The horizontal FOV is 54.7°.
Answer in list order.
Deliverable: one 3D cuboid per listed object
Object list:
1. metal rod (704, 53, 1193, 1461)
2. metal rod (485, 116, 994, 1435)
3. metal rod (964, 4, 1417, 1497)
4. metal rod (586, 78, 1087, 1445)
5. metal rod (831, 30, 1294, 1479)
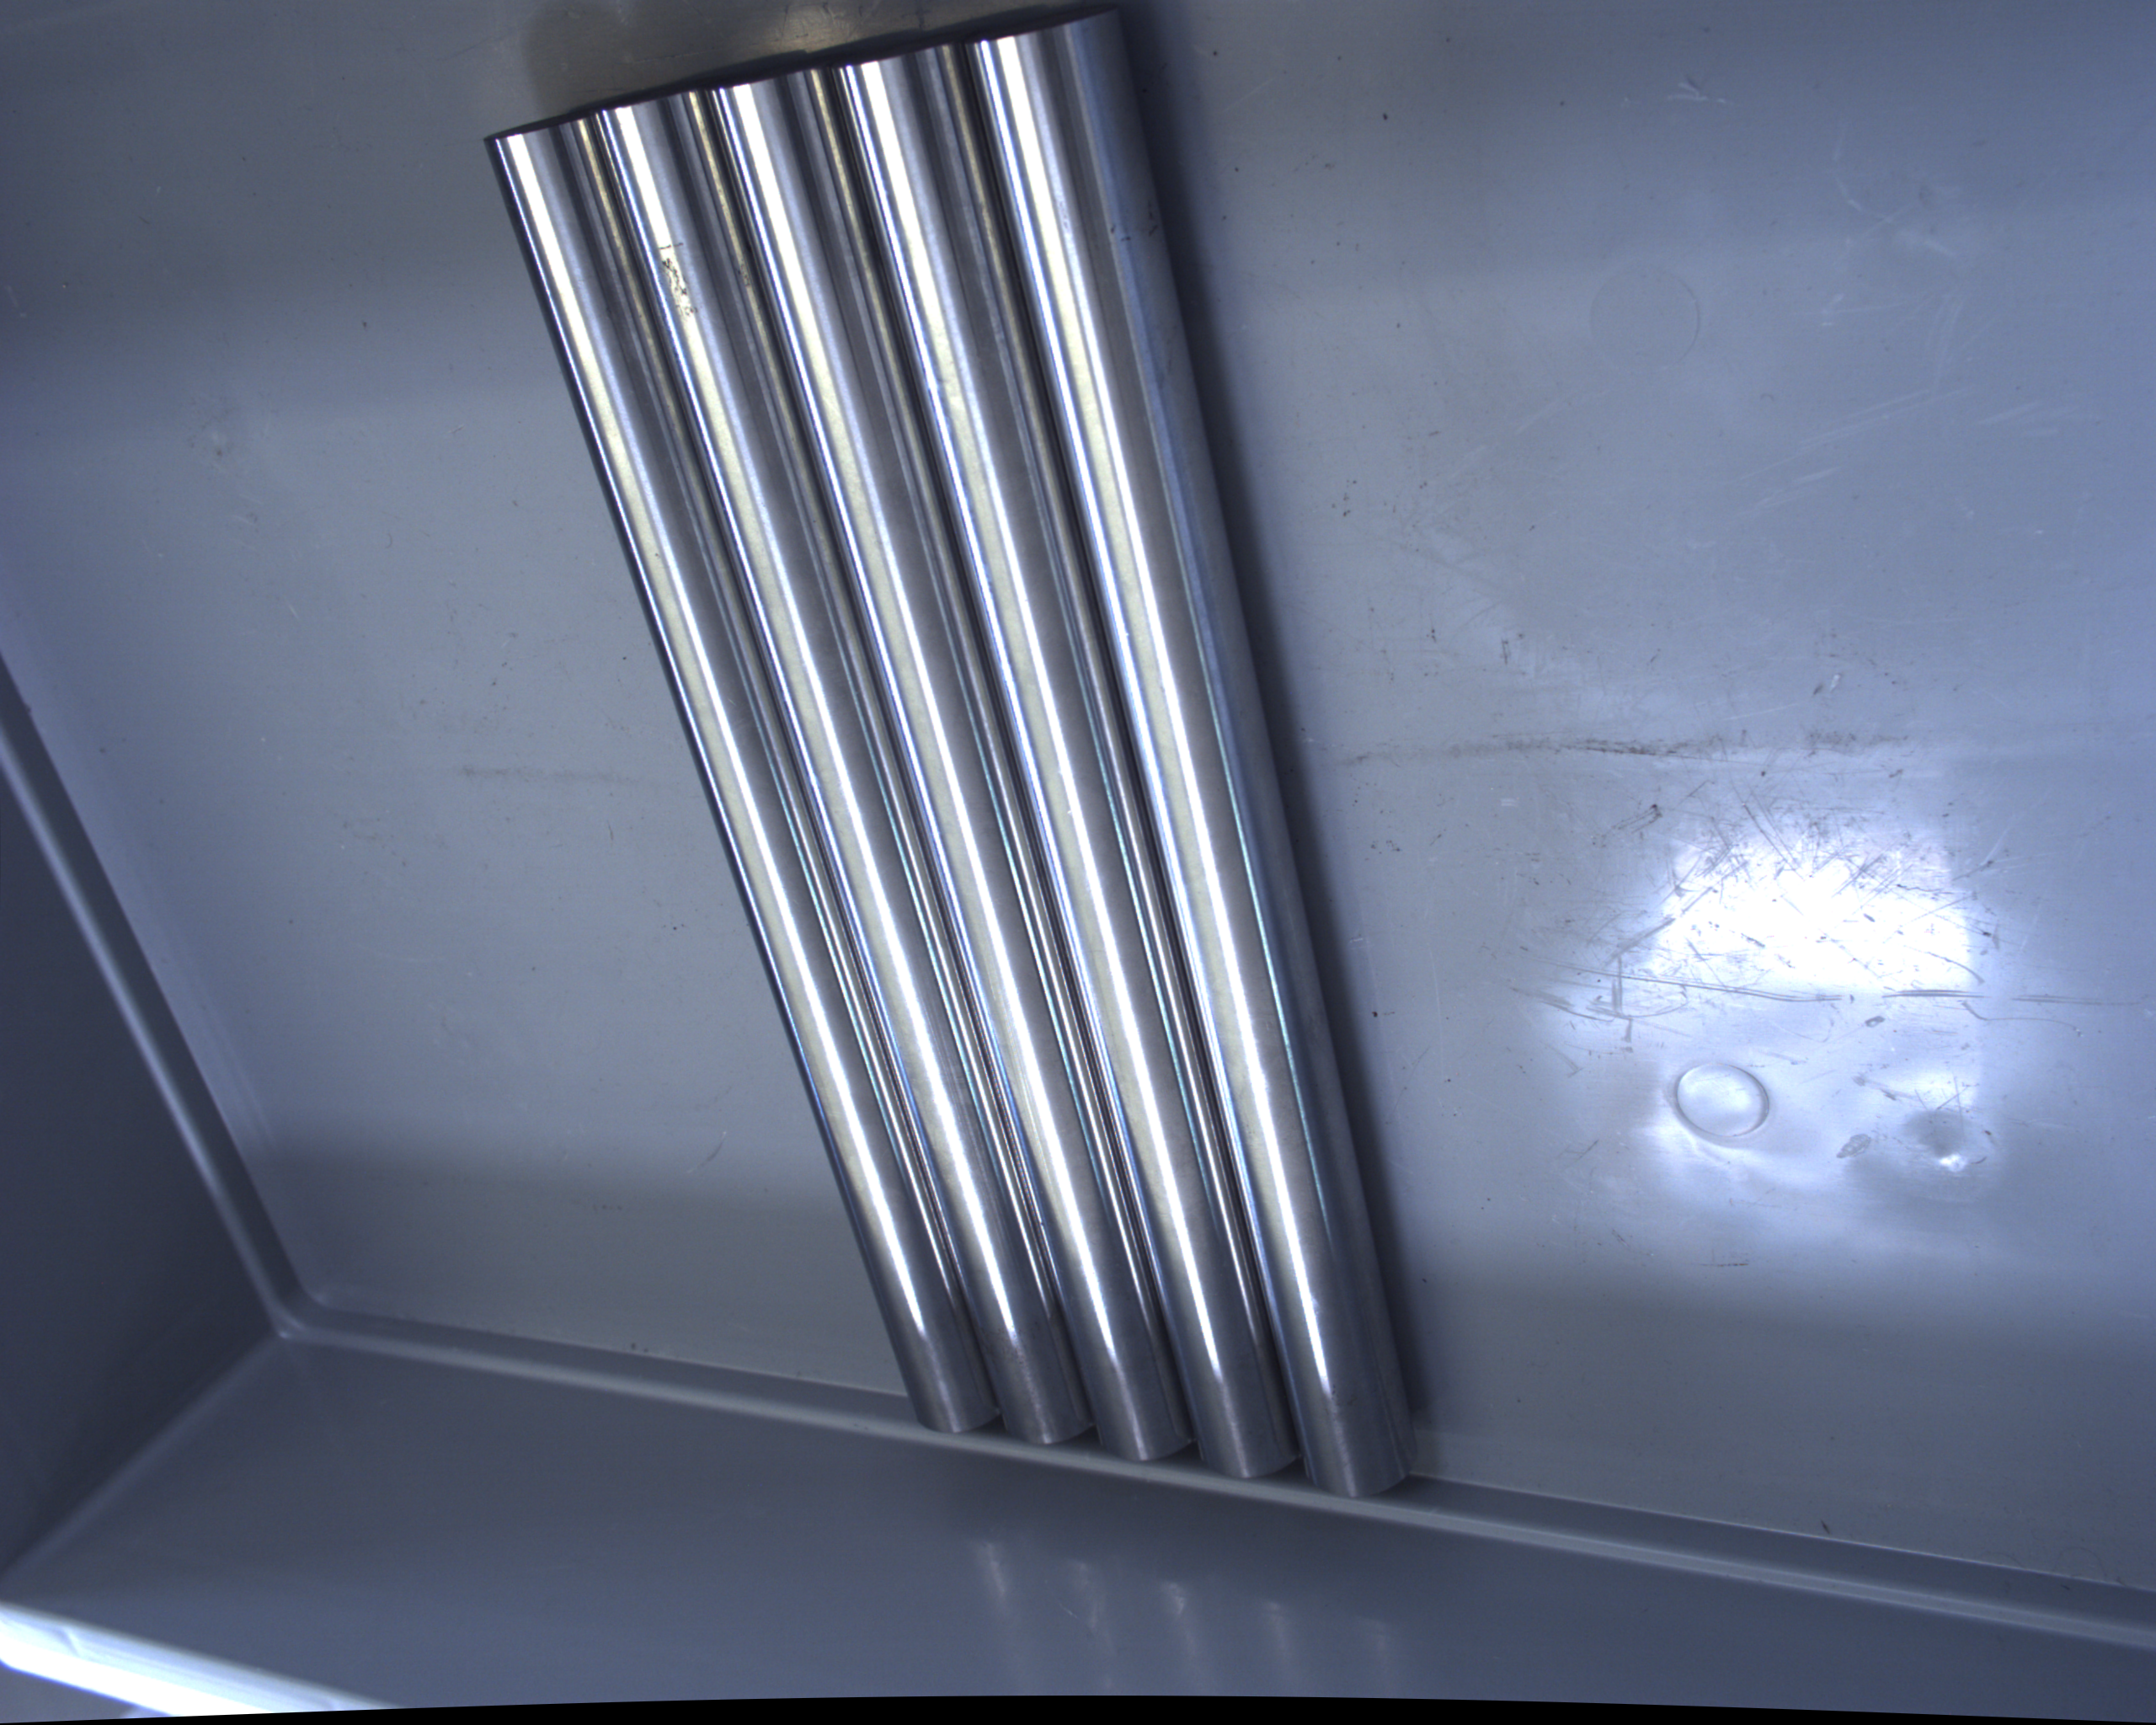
[{"bbox_3d":[-0.017,-0.003,0.415,0.025,0.025,0.298,0,119,28],"label":"metal rod"},{"bbox_3d":[-0.061,-0.002,0.438,0.025,0.025,0.298,0,119,28],"label":"metal rod"},{"bbox_3d":[0.028,-0.002,0.391,0.025,0.025,0.298,0,119,28],"label":"metal rod"},{"bbox_3d":[-0.040,-0.003,0.426,0.025,0.025,0.298,0,119,28],"label":"metal rod"},{"bbox_3d":[0.006,-0.002,0.403,0.025,0.025,0.298,0,119,28],"label":"metal rod"}]
